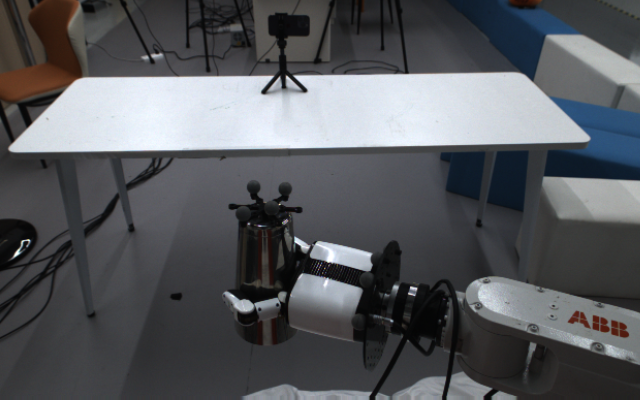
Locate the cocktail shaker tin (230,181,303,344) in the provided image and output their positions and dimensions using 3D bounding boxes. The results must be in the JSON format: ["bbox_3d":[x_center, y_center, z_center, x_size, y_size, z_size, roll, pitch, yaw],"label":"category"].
[{"bbox_3d":[-0.067,0.092,0.628,0.093,0.170,0.093,2,28,-1],"label":"cocktail shaker tin"}]
